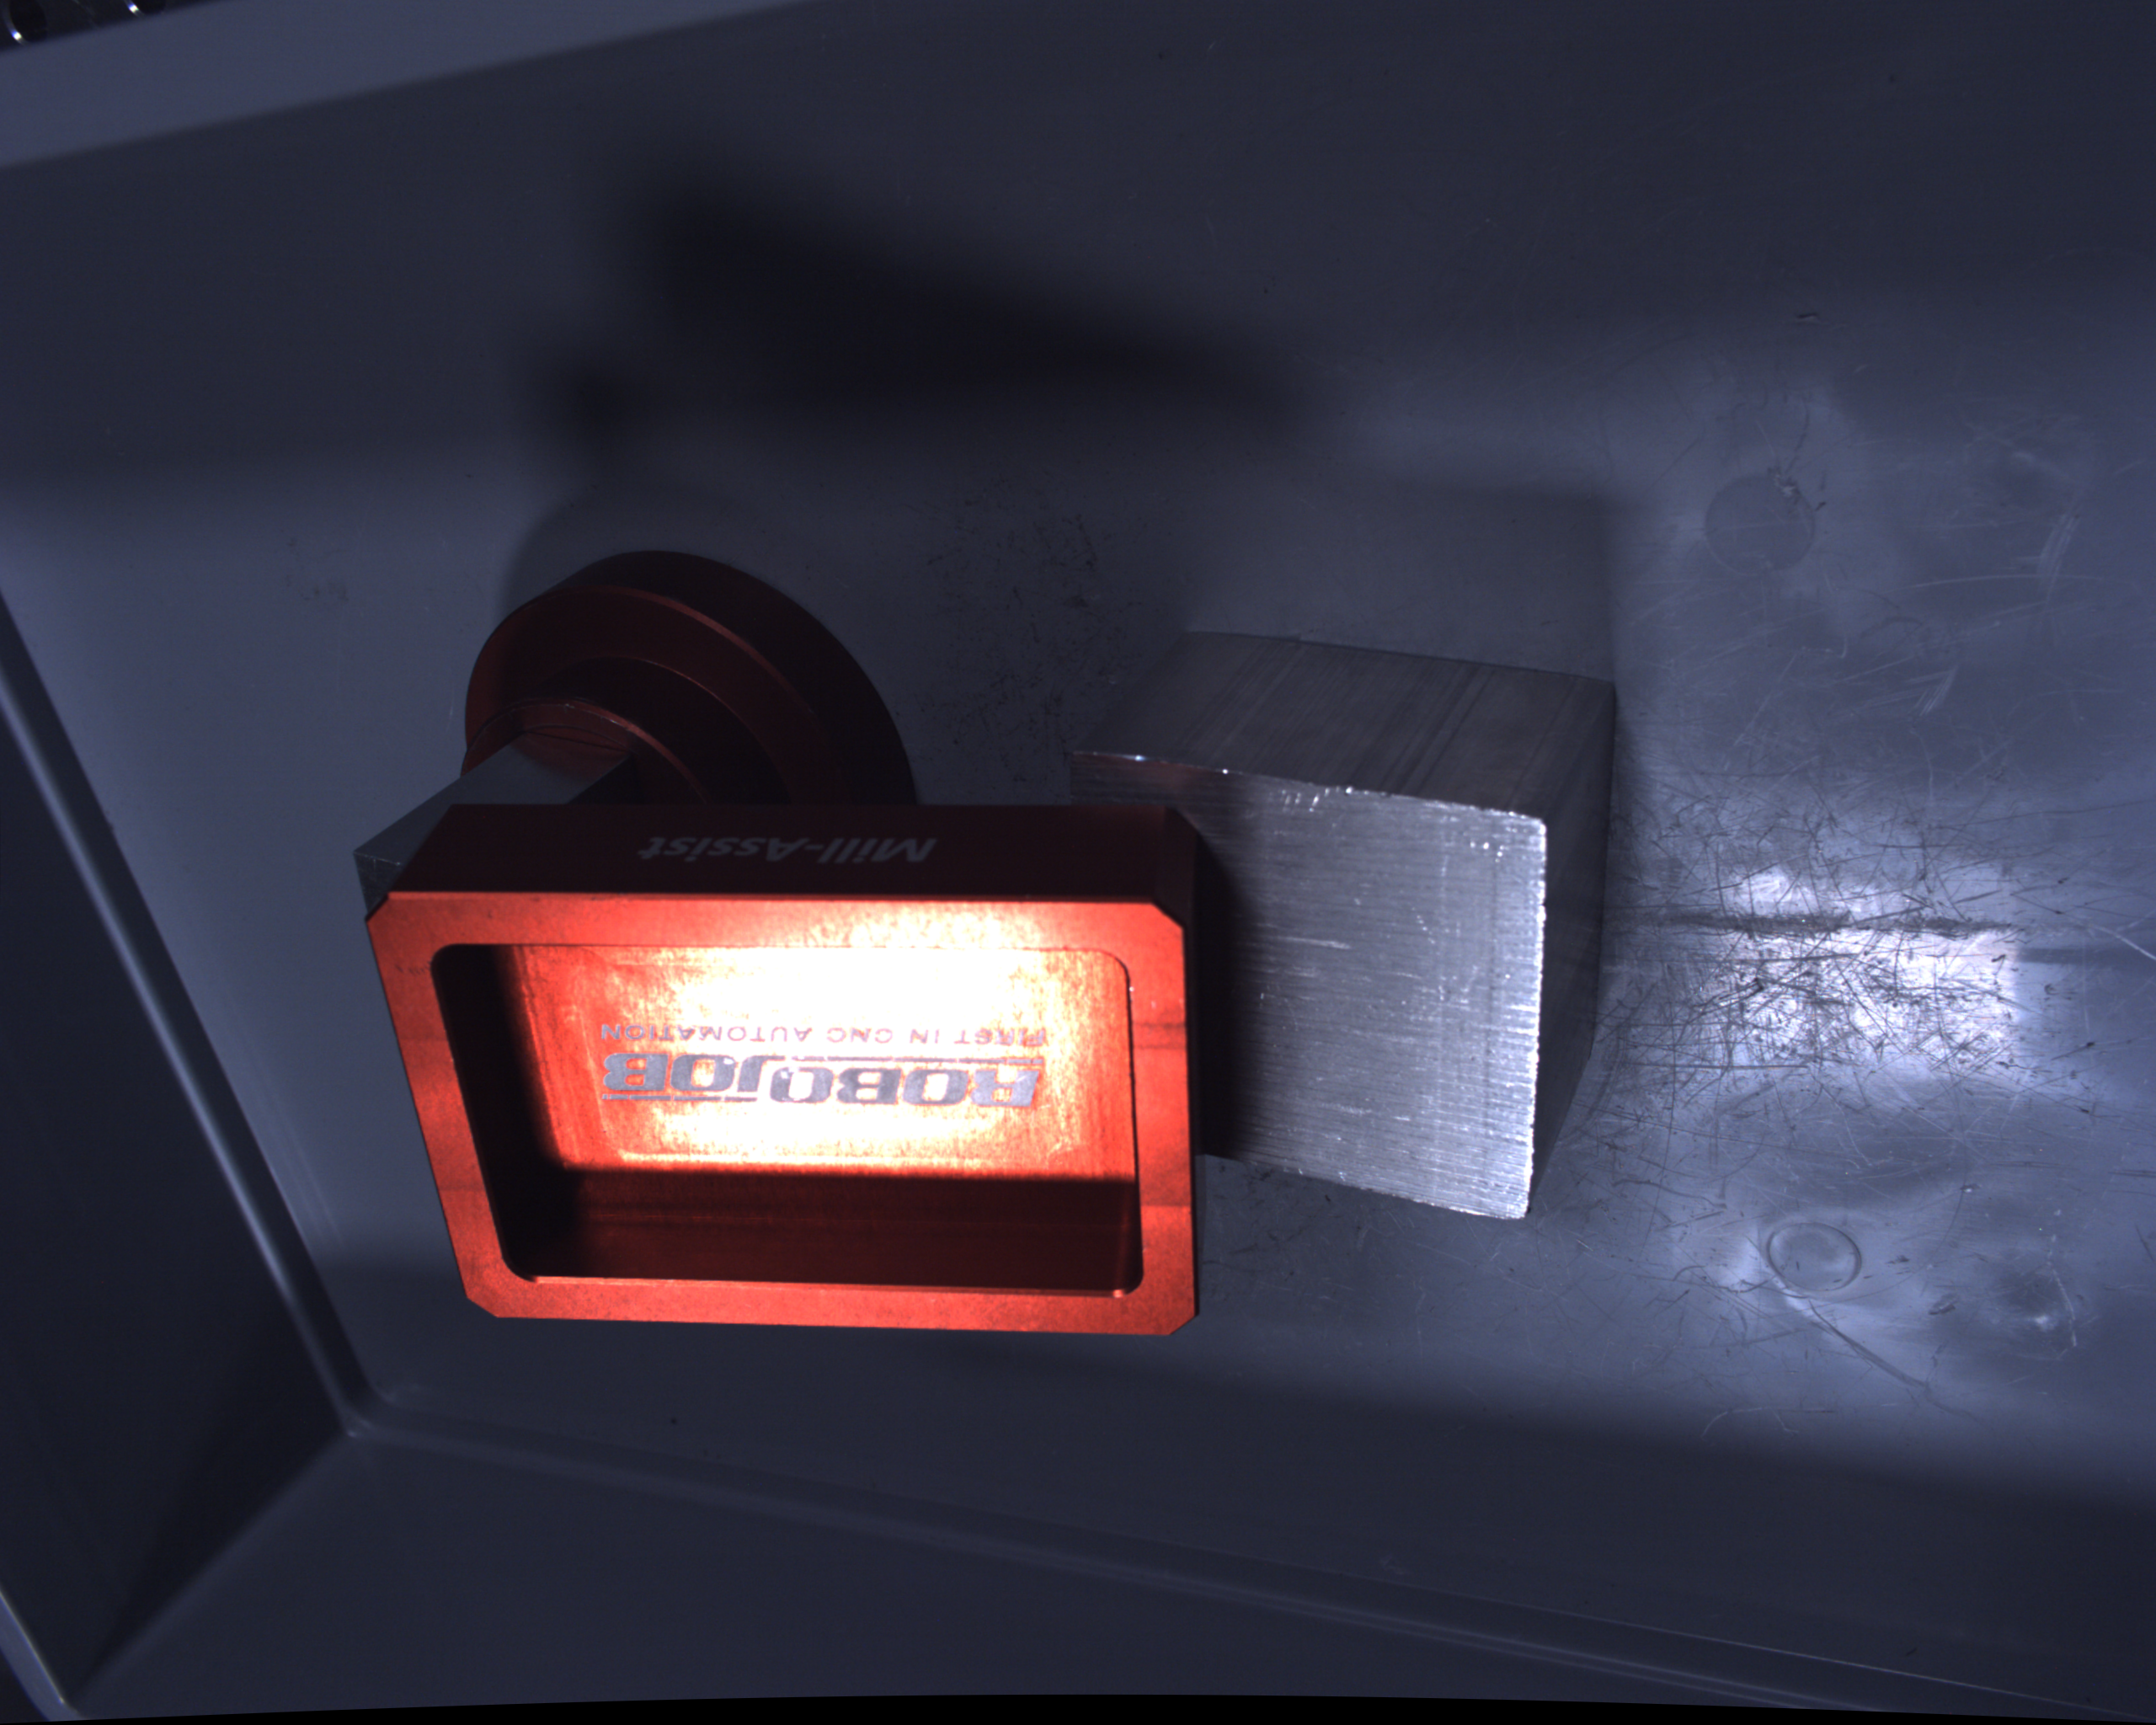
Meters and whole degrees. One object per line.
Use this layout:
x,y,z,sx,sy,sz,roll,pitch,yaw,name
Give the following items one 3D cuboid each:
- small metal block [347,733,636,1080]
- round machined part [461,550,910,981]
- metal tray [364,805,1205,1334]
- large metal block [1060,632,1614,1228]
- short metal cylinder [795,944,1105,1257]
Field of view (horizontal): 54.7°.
-0.107,0.010,0.397,0.025,0.050,0.050,12,123,21,small metal block
-0.087,-0.012,0.432,0.098,0.042,0.097,13,124,20,round machined part
-0.045,0.036,0.357,0.131,0.030,0.089,0,121,6,metal tray
0.047,0.010,0.369,0.080,0.050,0.079,9,123,23,large metal block
-0.027,0.048,0.418,0.080,0.050,0.079,6,132,7,short metal cylinder
